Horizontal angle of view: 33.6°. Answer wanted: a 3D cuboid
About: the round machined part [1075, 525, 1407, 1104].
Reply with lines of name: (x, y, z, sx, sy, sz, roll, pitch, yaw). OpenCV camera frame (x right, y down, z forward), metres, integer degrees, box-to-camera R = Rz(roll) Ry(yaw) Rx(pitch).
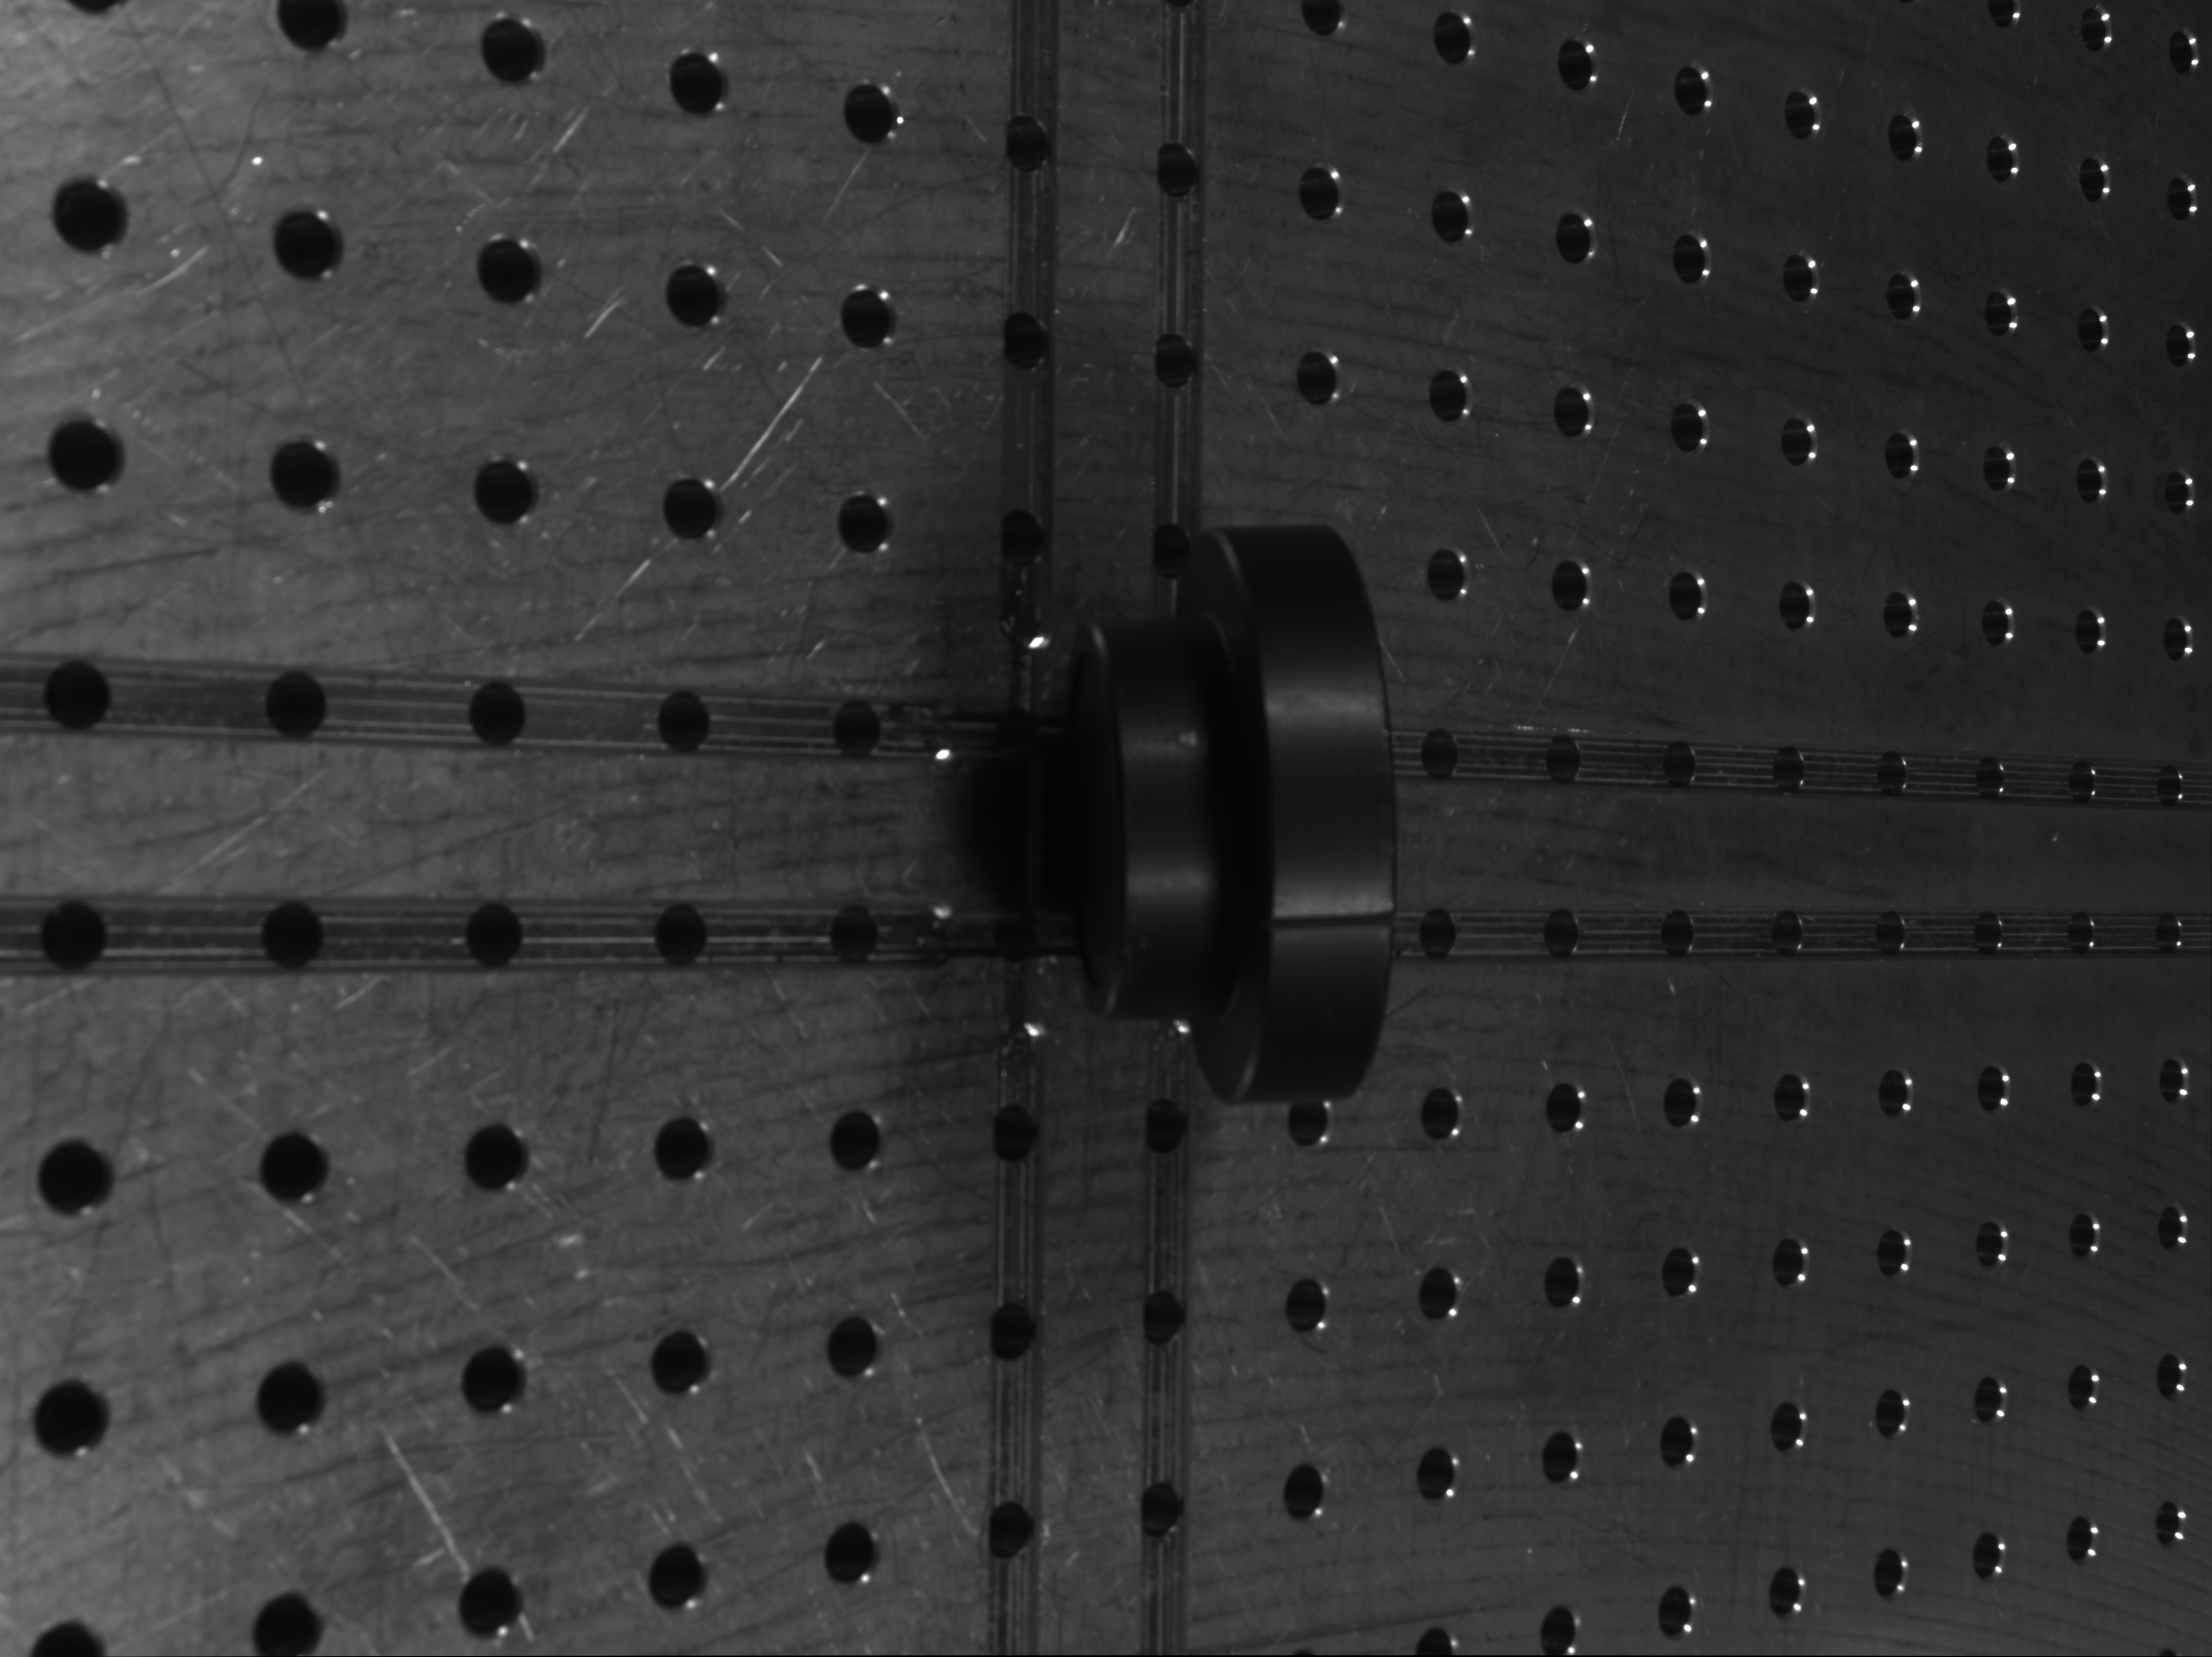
round machined part: (0.020, -0.002, 0.621, 0.042, 0.098, 0.098, -2, 92, -8)
